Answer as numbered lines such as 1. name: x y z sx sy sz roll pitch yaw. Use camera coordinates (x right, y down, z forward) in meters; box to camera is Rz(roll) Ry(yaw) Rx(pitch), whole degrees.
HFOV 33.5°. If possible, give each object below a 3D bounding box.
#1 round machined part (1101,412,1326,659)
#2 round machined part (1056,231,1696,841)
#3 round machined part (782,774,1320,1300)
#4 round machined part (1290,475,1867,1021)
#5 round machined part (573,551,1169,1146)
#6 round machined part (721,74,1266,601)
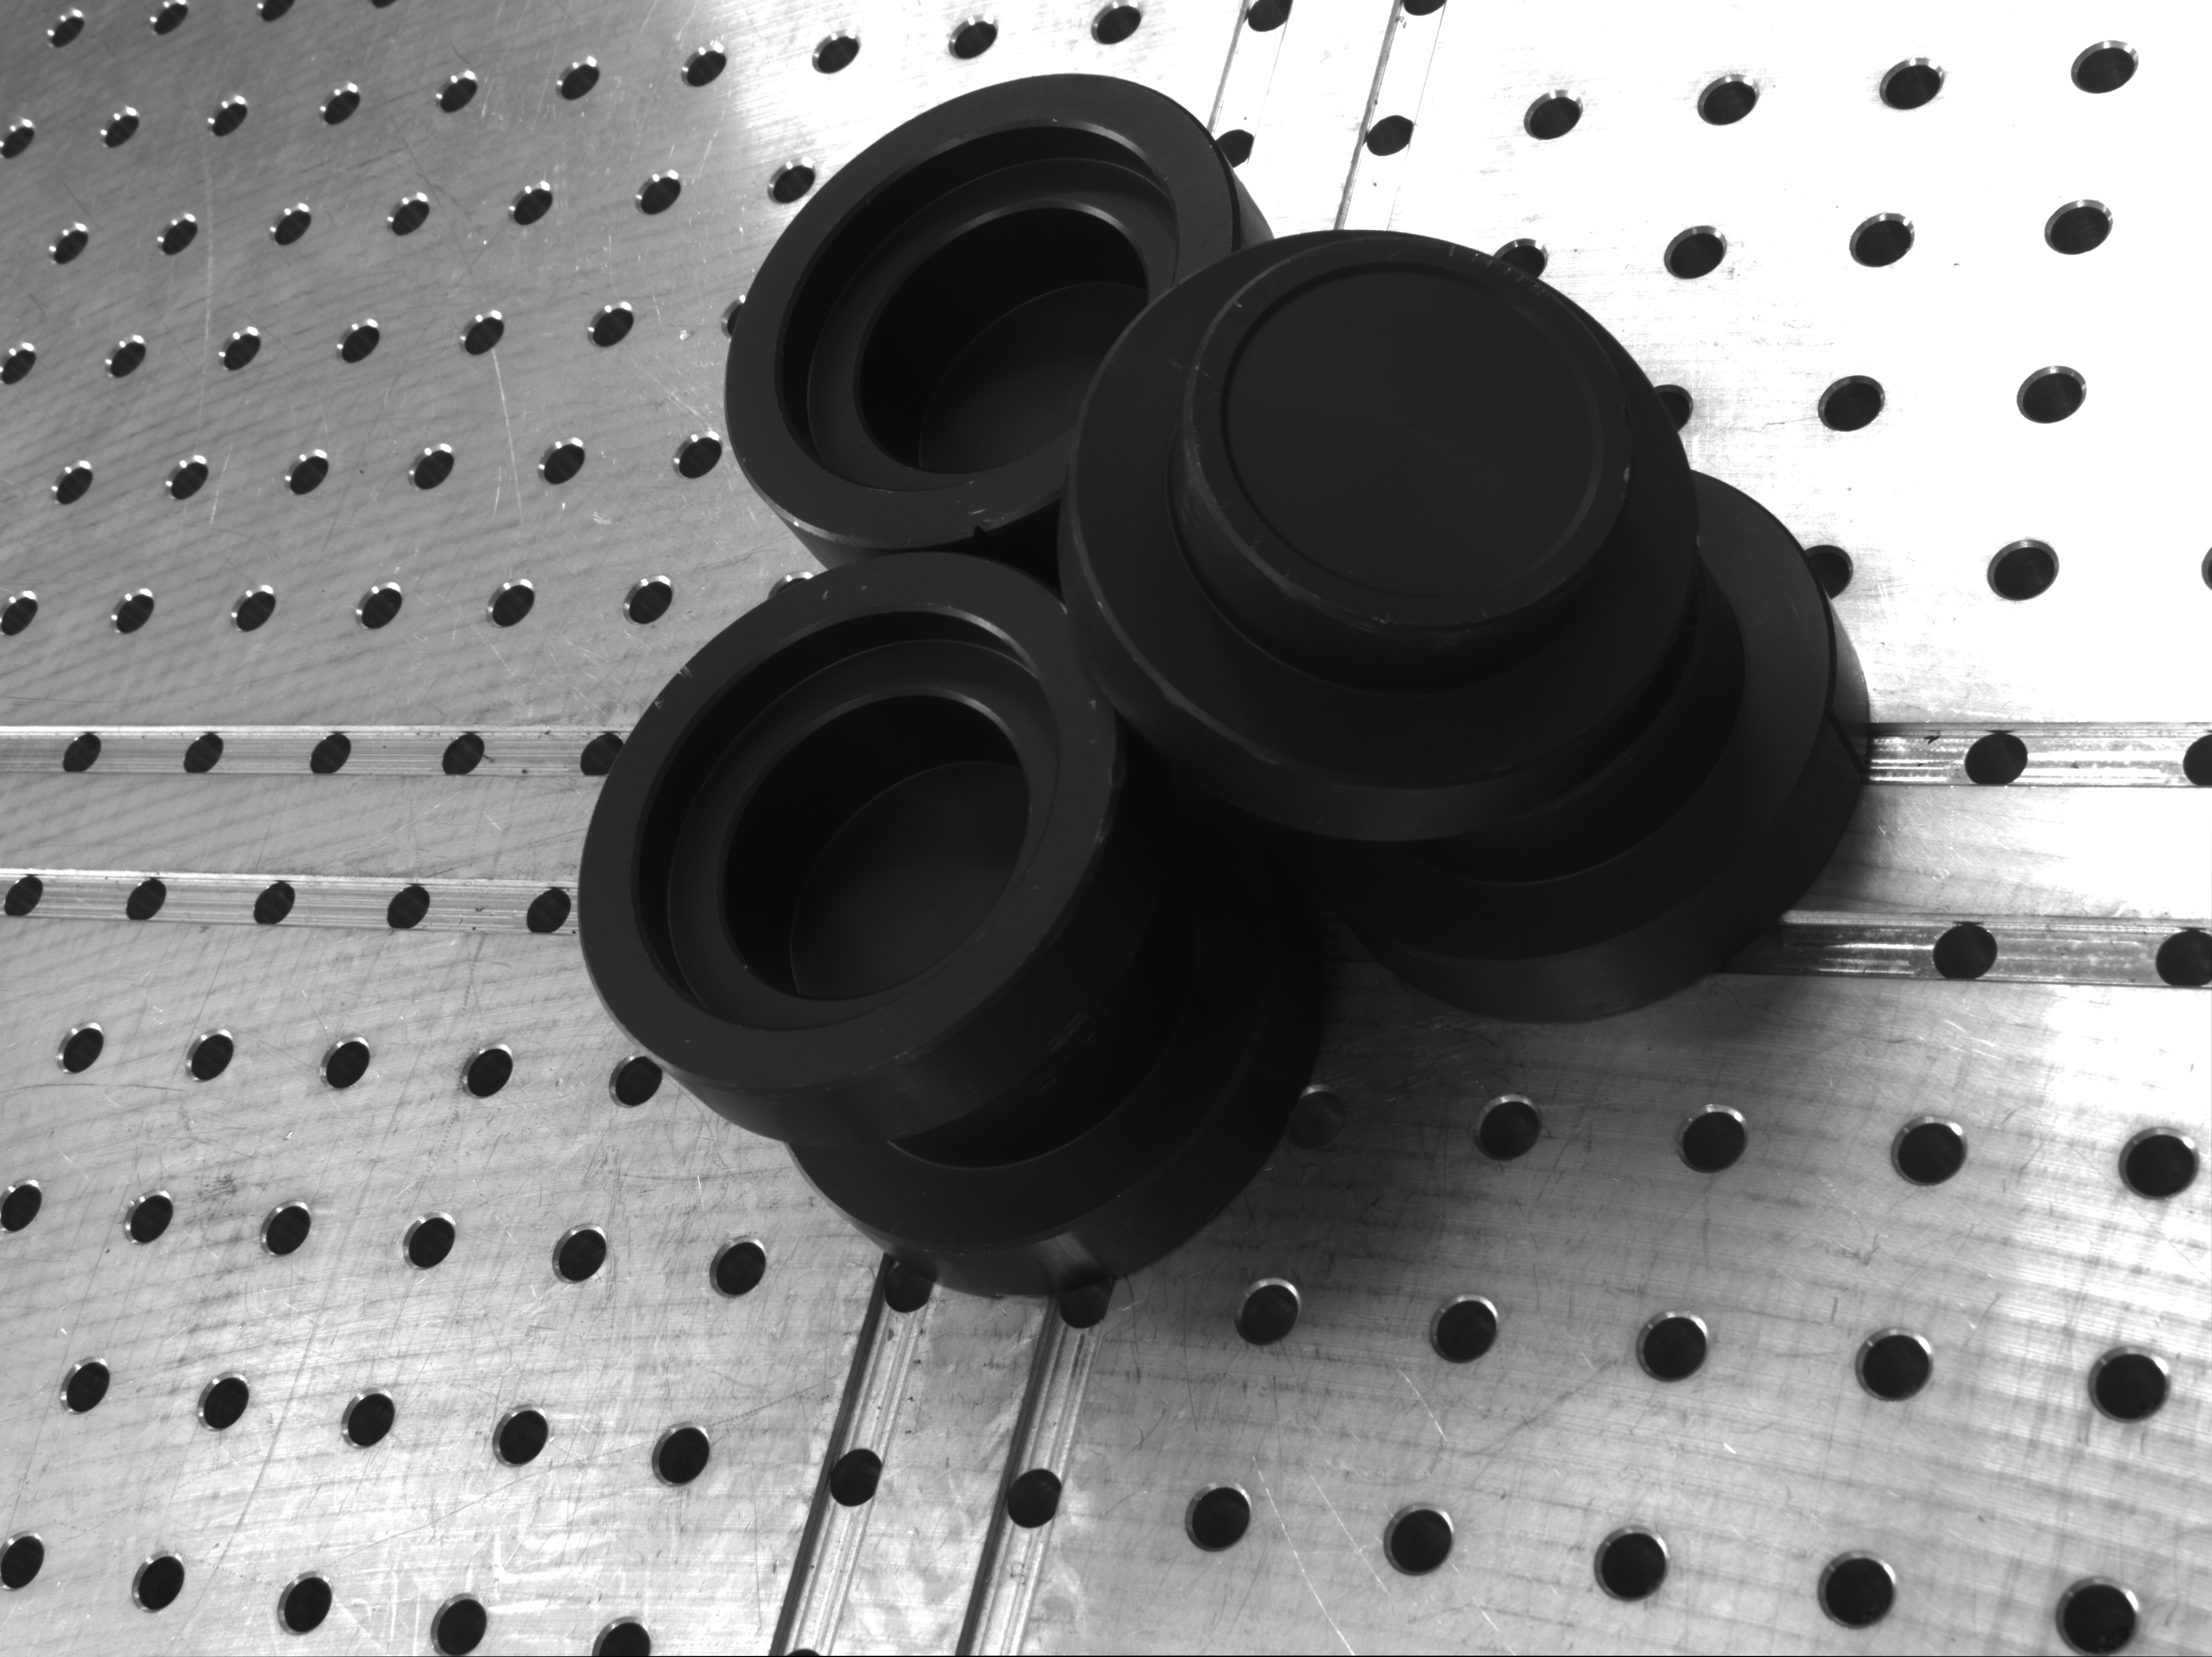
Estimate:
1. round machined part: 0.005 -0.059 0.672 0.098 0.042 0.098 -14 56 21
2. round machined part: 0.043 -0.051 0.564 0.098 0.042 0.098 3 65 -6
3. round machined part: -0.016 0.028 0.630 0.098 0.042 0.098 -14 56 21
4. round machined part: 0.073 -0.021 0.611 0.098 0.042 0.098 -14 56 21
5. round machined part: -0.034 0.007 0.597 0.098 0.042 0.098 -14 56 21
6. round machined part: -0.014 -0.080 0.640 0.098 0.042 0.098 -14 56 21
